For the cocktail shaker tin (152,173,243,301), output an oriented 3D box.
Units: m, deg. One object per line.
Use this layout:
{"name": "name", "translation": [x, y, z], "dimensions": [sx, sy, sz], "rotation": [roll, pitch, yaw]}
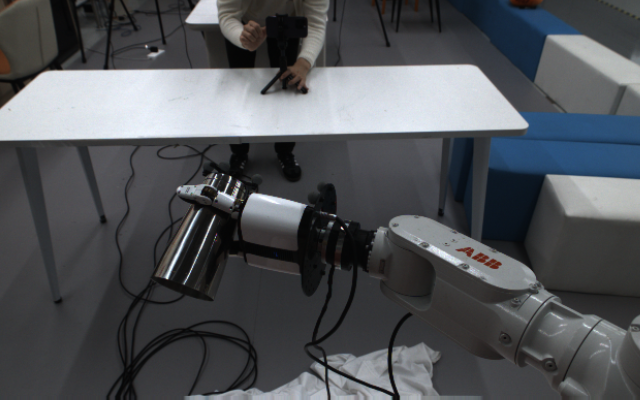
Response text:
{"name": "cocktail shaker tin", "translation": [-0.163, 0.046, 0.697], "dimensions": [0.093, 0.093, 0.170], "rotation": [13, 66, 15]}
